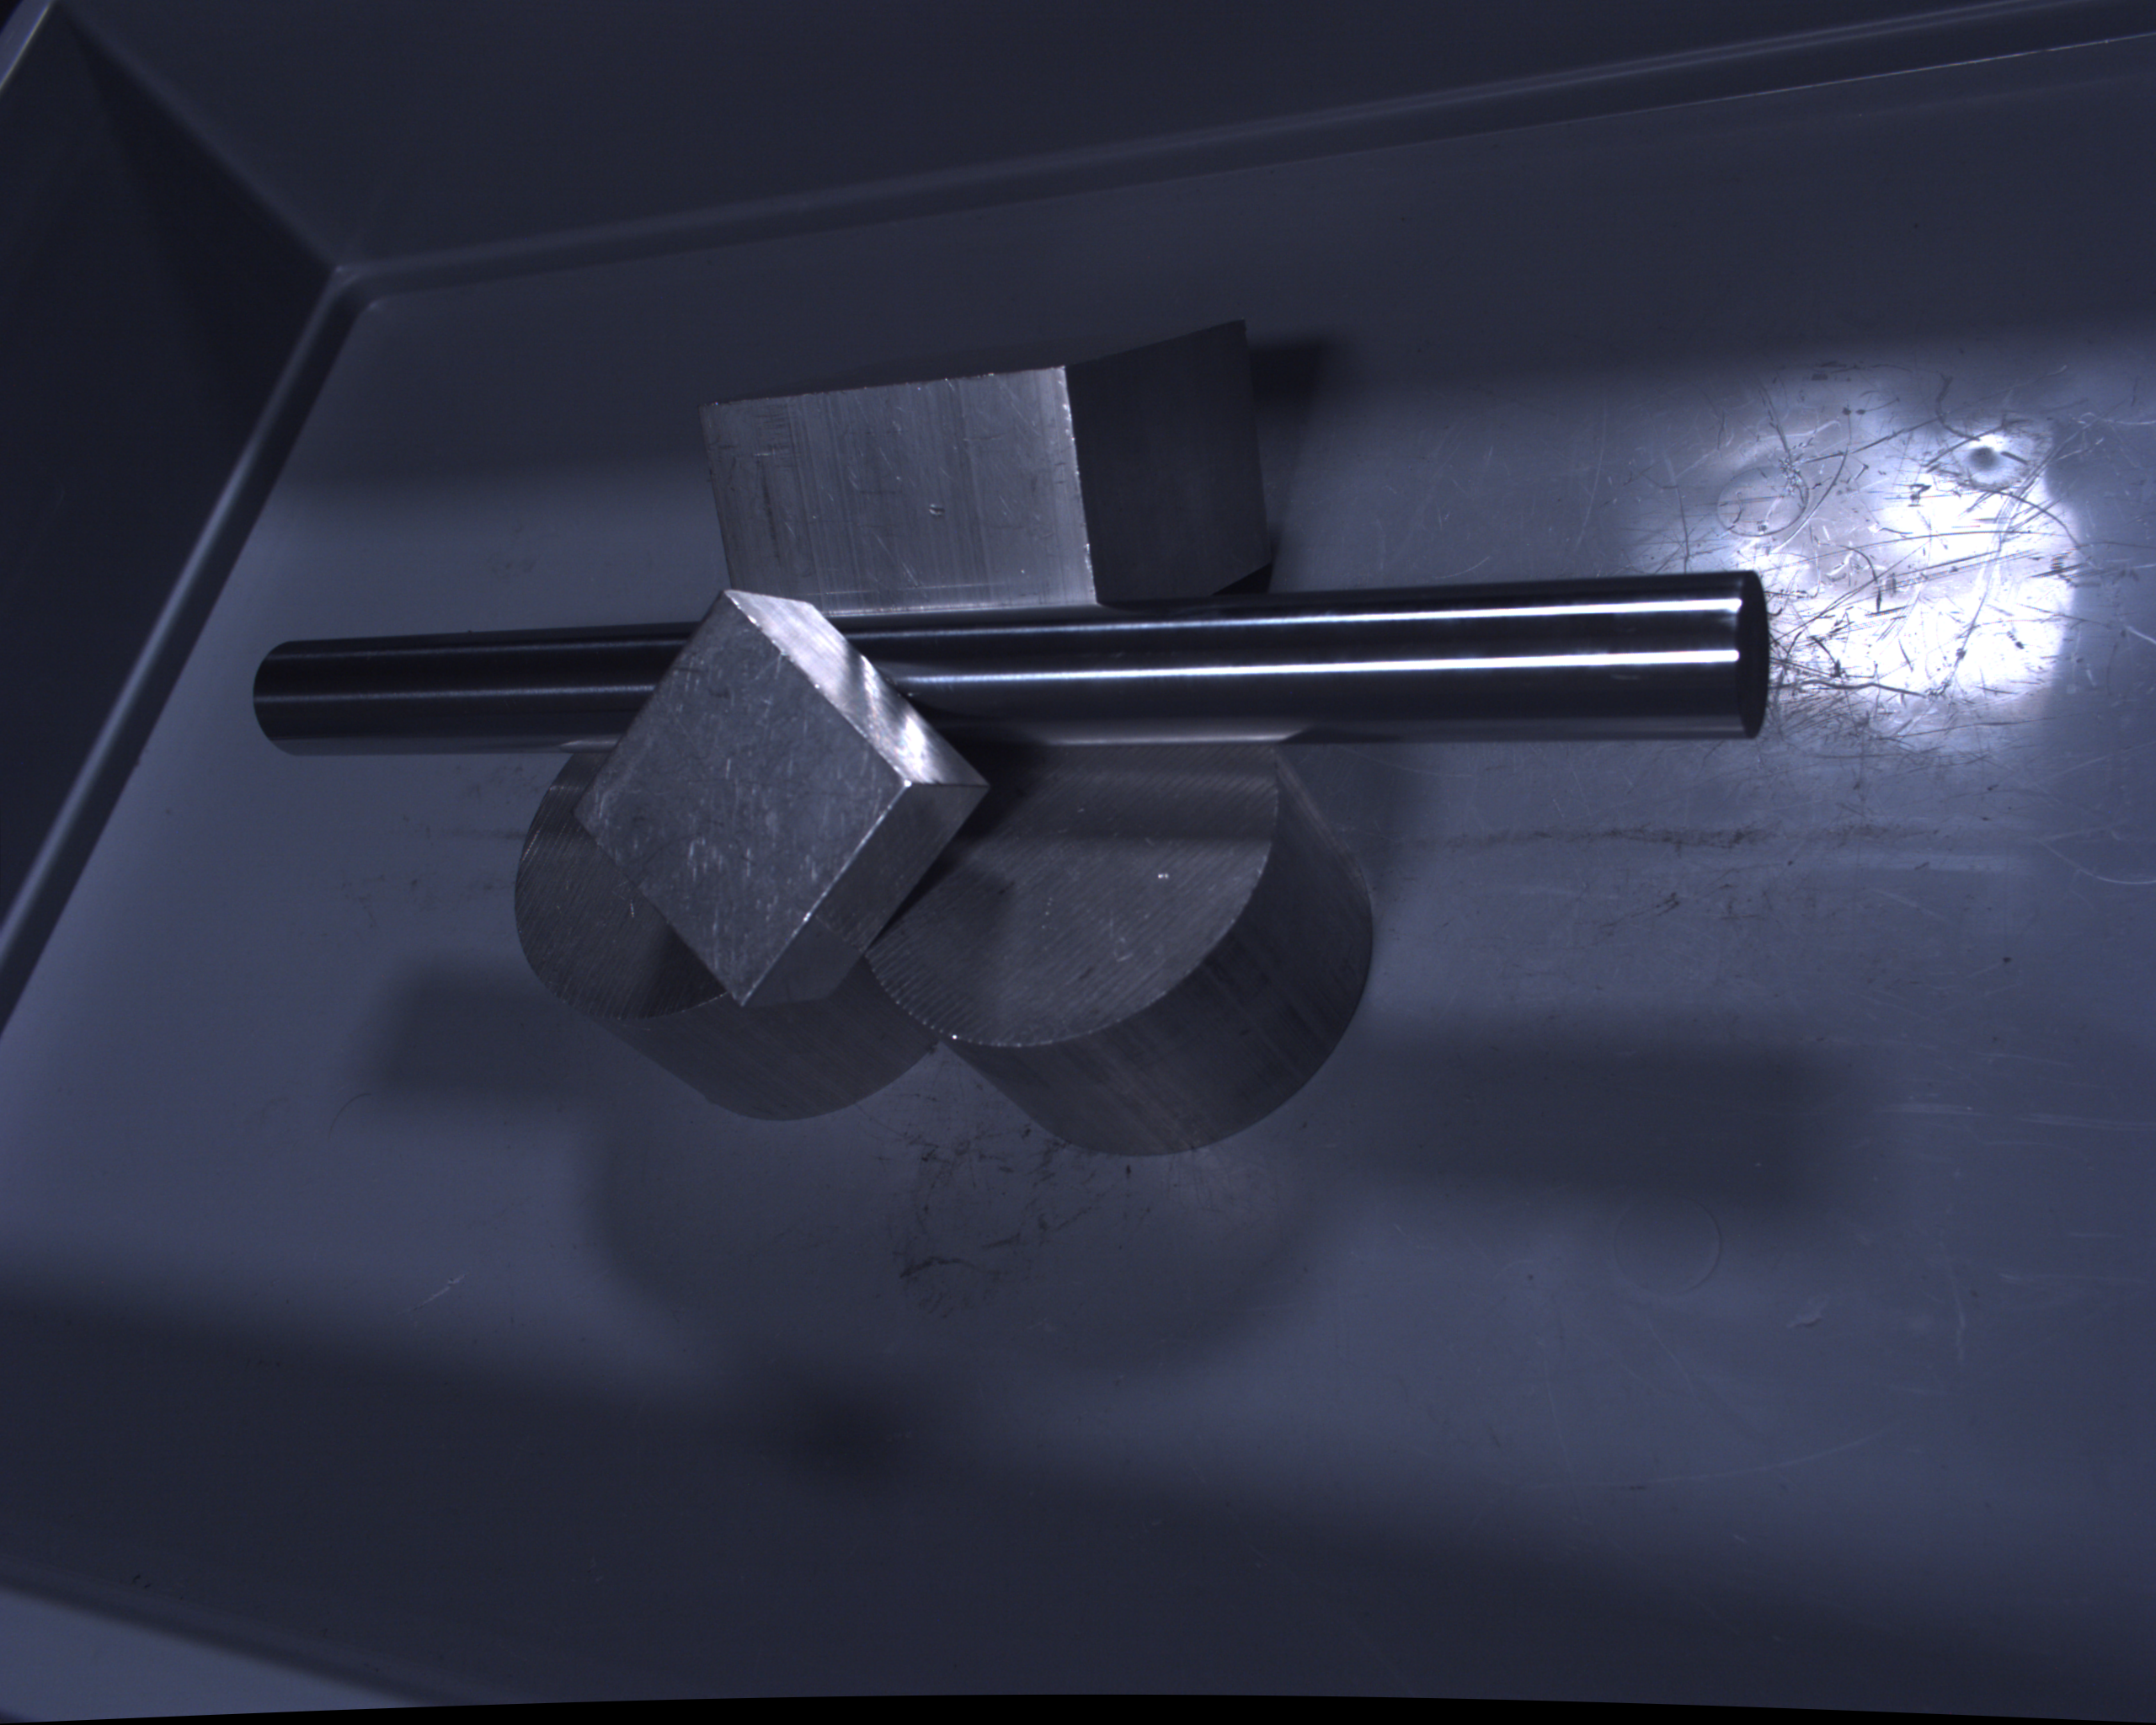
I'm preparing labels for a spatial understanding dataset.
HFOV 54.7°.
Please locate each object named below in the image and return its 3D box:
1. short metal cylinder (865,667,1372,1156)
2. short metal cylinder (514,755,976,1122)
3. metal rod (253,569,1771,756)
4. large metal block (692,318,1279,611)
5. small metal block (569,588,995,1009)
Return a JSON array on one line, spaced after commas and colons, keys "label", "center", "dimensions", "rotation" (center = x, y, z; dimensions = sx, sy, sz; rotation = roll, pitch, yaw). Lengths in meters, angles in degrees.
[{"label": "short metal cylinder", "center": [0.007, 0.007, 0.379], "dimensions": [0.080, 0.050, 0.080], "rotation": [-13, 56, 20]}, {"label": "short metal cylinder", "center": [-0.064, 0.005, 0.417], "dimensions": [0.080, 0.050, 0.080], "rotation": [-13, 56, 20]}, {"label": "metal rod", "center": [-0.033, -0.033, 0.376], "dimensions": [0.300, 0.025, 0.025], "rotation": [1, 62, 28]}, {"label": "large metal block", "center": [-0.015, -0.074, 0.414], "dimensions": [0.080, 0.050, 0.080], "rotation": [1, 19, 28]}, {"label": "small metal block", "center": [-0.051, -0.011, 0.358], "dimensions": [0.050, 0.025, 0.050], "rotation": [45, 109, 20]}]
